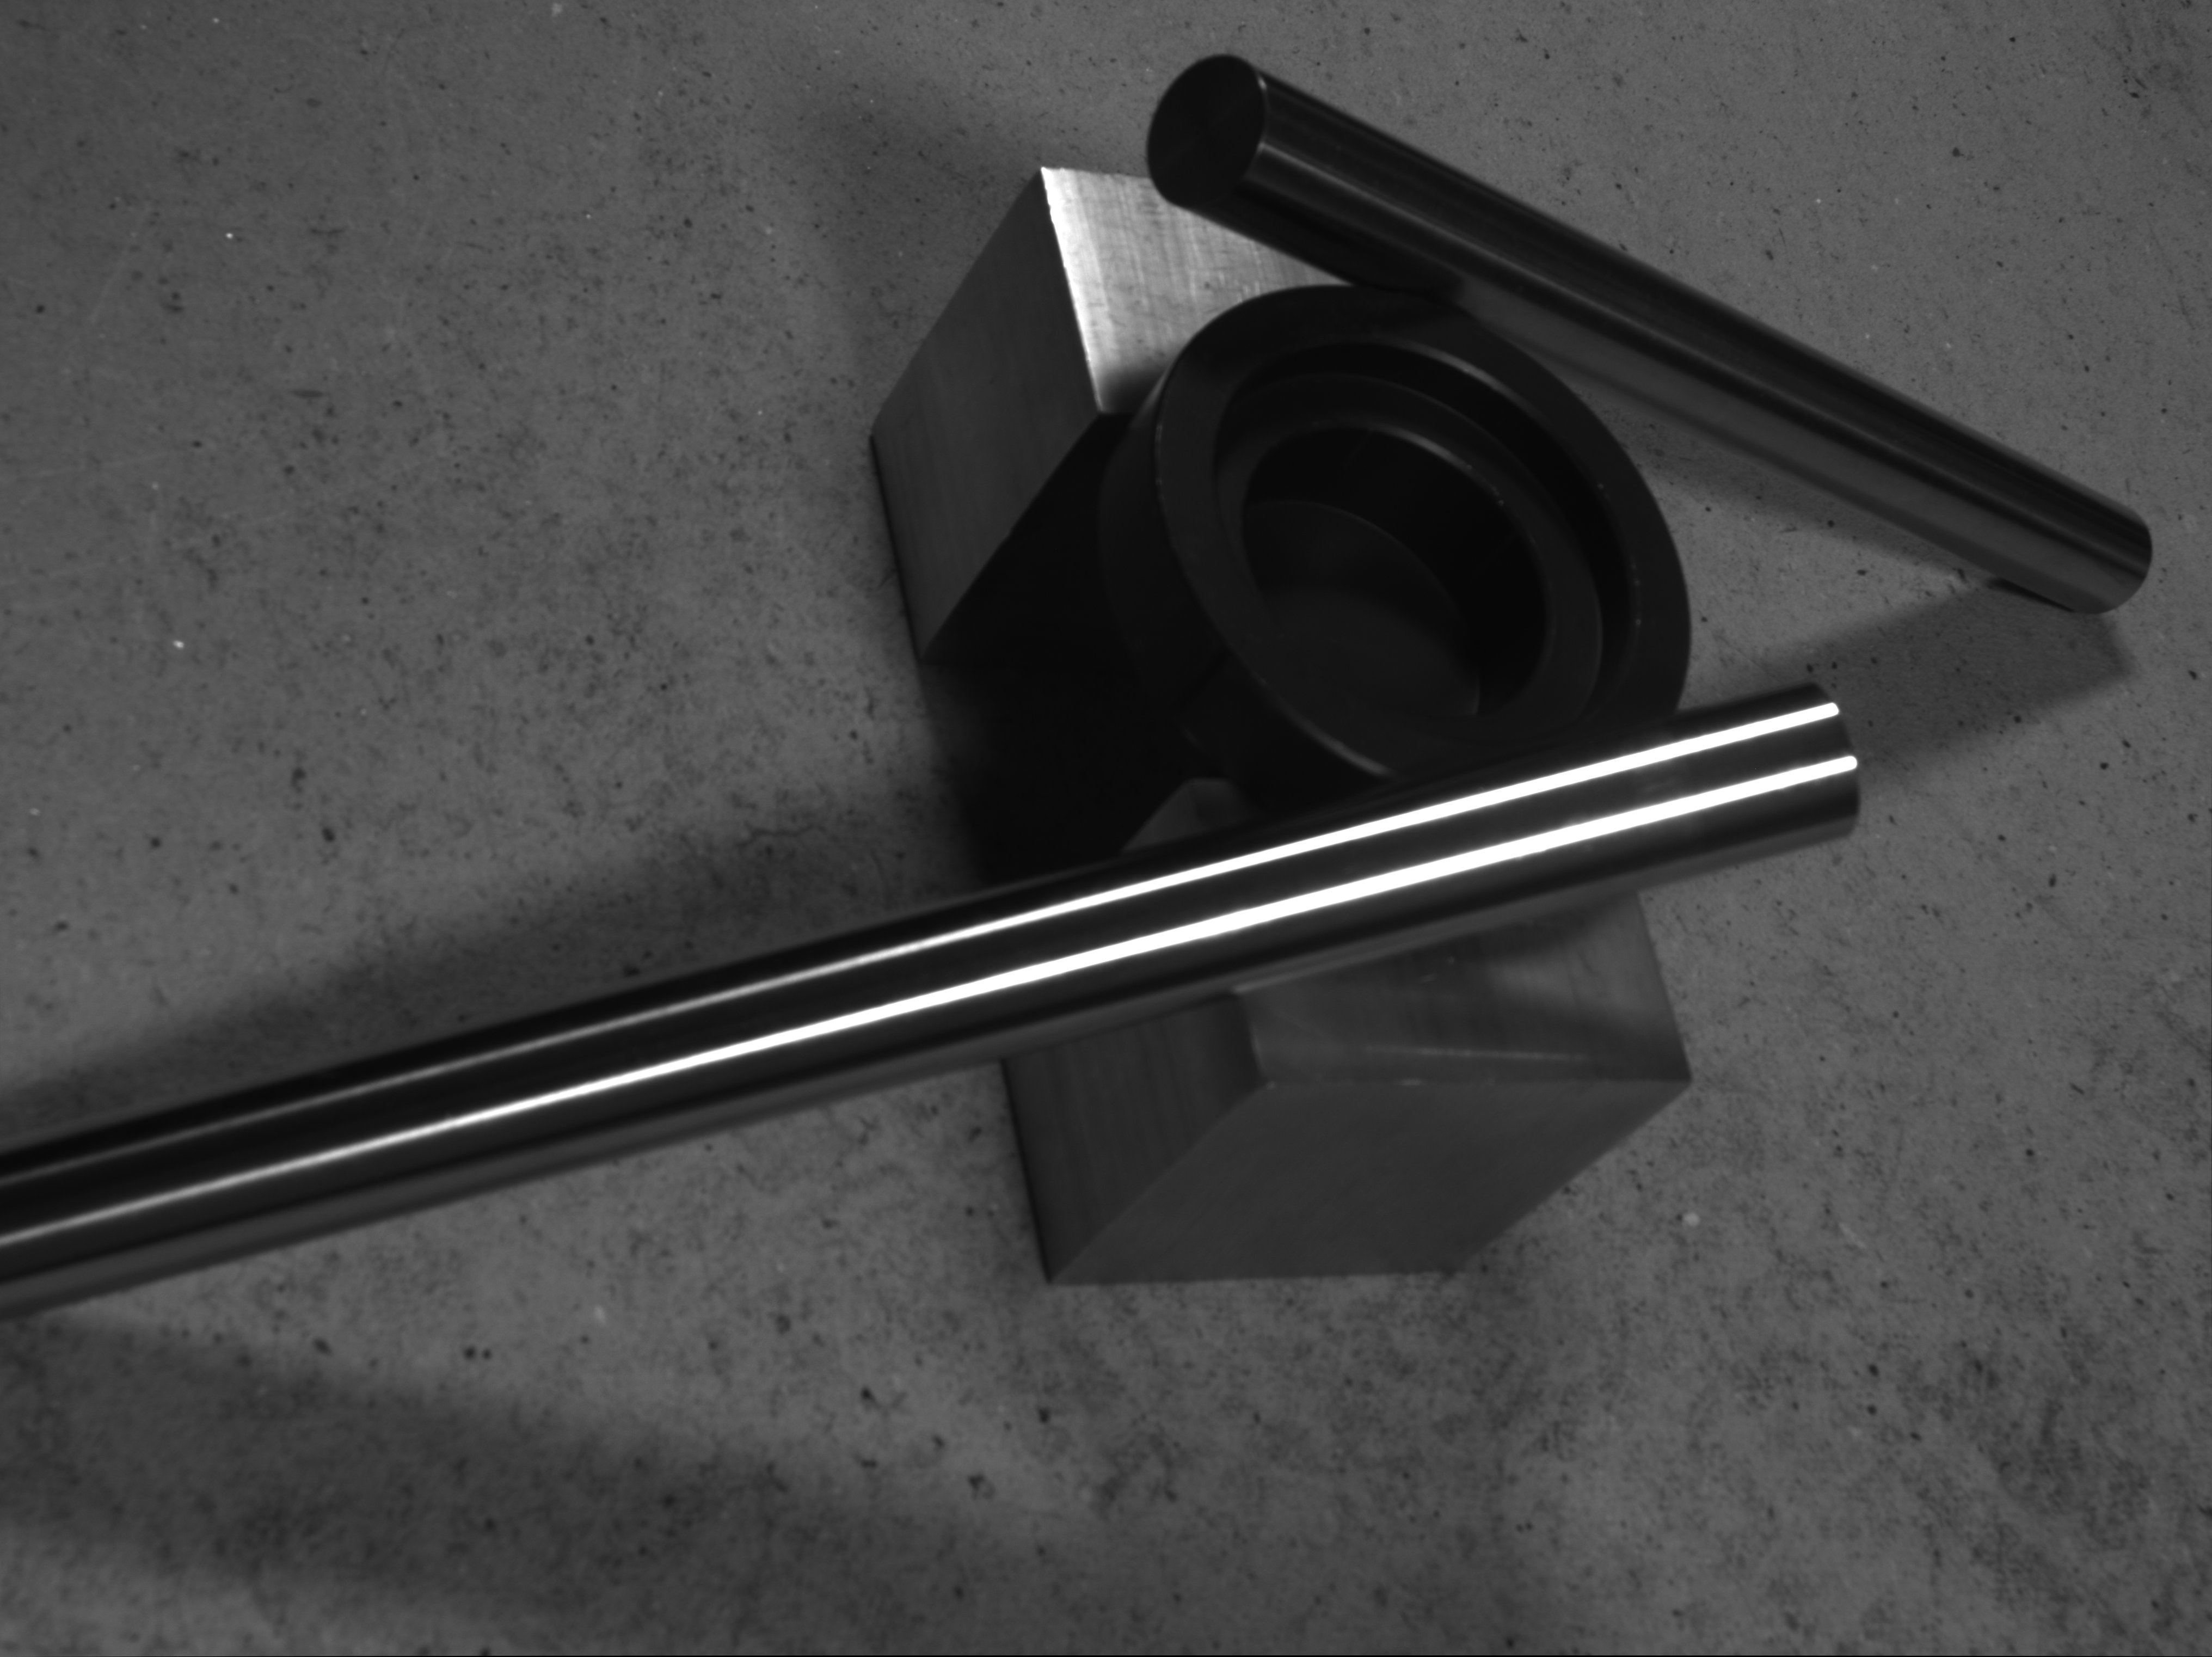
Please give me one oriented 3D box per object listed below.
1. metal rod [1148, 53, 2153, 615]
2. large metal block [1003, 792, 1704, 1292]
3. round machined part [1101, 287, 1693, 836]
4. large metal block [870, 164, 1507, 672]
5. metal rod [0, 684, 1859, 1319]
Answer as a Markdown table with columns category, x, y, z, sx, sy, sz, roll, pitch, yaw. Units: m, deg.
| category | x | y | z | sx | sy | sz | roll | pitch | yaw |
| --- | --- | --- | --- | --- | --- | --- | --- | --- | --- |
| metal rod | 0.116 | -0.084 | 0.684 | 0.301 | 0.025 | 0.025 | 14 | 53 | -47 |
| large metal block | 0.038 | 0.036 | 0.603 | 0.080 | 0.080 | 0.050 | 1 | 61 | -28 |
| round machined part | 0.043 | -0.037 | 0.599 | 0.098 | 0.042 | 0.098 | 14 | 56 | -21 |
| large metal block | 0.013 | -0.070 | 0.654 | 0.080 | 0.080 | 0.050 | 1 | 61 | -28 |
| metal rod | -0.034 | 0.026 | 0.534 | 0.300 | 0.025 | 0.025 | -14 | 67 | -9 |
